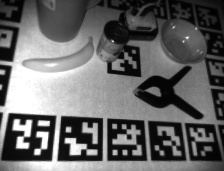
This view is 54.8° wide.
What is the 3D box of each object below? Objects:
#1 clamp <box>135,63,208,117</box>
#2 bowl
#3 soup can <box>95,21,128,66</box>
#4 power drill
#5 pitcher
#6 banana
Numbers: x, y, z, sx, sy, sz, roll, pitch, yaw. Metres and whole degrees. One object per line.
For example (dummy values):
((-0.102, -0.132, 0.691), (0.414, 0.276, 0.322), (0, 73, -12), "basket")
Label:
((0.161, 0.013, 0.597), (0.204, 0.036, 0.165), (-3, 75, -18), "clamp")
((0.204, -0.136, 0.662), (0.163, 0.055, 0.161), (6, 70, -15), "bowl")
((-0.005, -0.106, 0.563), (0.068, 0.102, 0.067), (7, 60, -11), "soup can")
((0.114, -0.219, 0.573), (0.186, 0.186, 0.057), (-5, 71, -19), "power drill")
((-0.110, -0.188, 0.483), (0.190, 0.242, 0.132), (-25, 75, -23), "pitcher")
((-0.128, -0.047, 0.540), (0.199, 0.039, 0.074), (-26, 71, -25), "banana")
